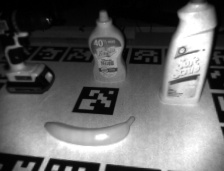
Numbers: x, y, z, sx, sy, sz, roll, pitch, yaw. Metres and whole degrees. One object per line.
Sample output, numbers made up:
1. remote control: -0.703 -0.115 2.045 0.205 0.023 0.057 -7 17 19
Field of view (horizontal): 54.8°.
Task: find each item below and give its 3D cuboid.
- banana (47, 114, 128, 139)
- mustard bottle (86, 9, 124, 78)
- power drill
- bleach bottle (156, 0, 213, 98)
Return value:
1. banana: -0.050 0.081 0.466 0.197 0.039 0.074 -3 43 7
2. mustard bottle: -0.019 -0.109 0.578 0.096 0.193 0.058 -3 41 2
3. power drill: -0.215 -0.108 0.552 0.184 0.188 0.057 -5 41 8
4. bleach bottle: 0.156 -0.084 0.481 0.102 0.252 0.068 7 43 16
